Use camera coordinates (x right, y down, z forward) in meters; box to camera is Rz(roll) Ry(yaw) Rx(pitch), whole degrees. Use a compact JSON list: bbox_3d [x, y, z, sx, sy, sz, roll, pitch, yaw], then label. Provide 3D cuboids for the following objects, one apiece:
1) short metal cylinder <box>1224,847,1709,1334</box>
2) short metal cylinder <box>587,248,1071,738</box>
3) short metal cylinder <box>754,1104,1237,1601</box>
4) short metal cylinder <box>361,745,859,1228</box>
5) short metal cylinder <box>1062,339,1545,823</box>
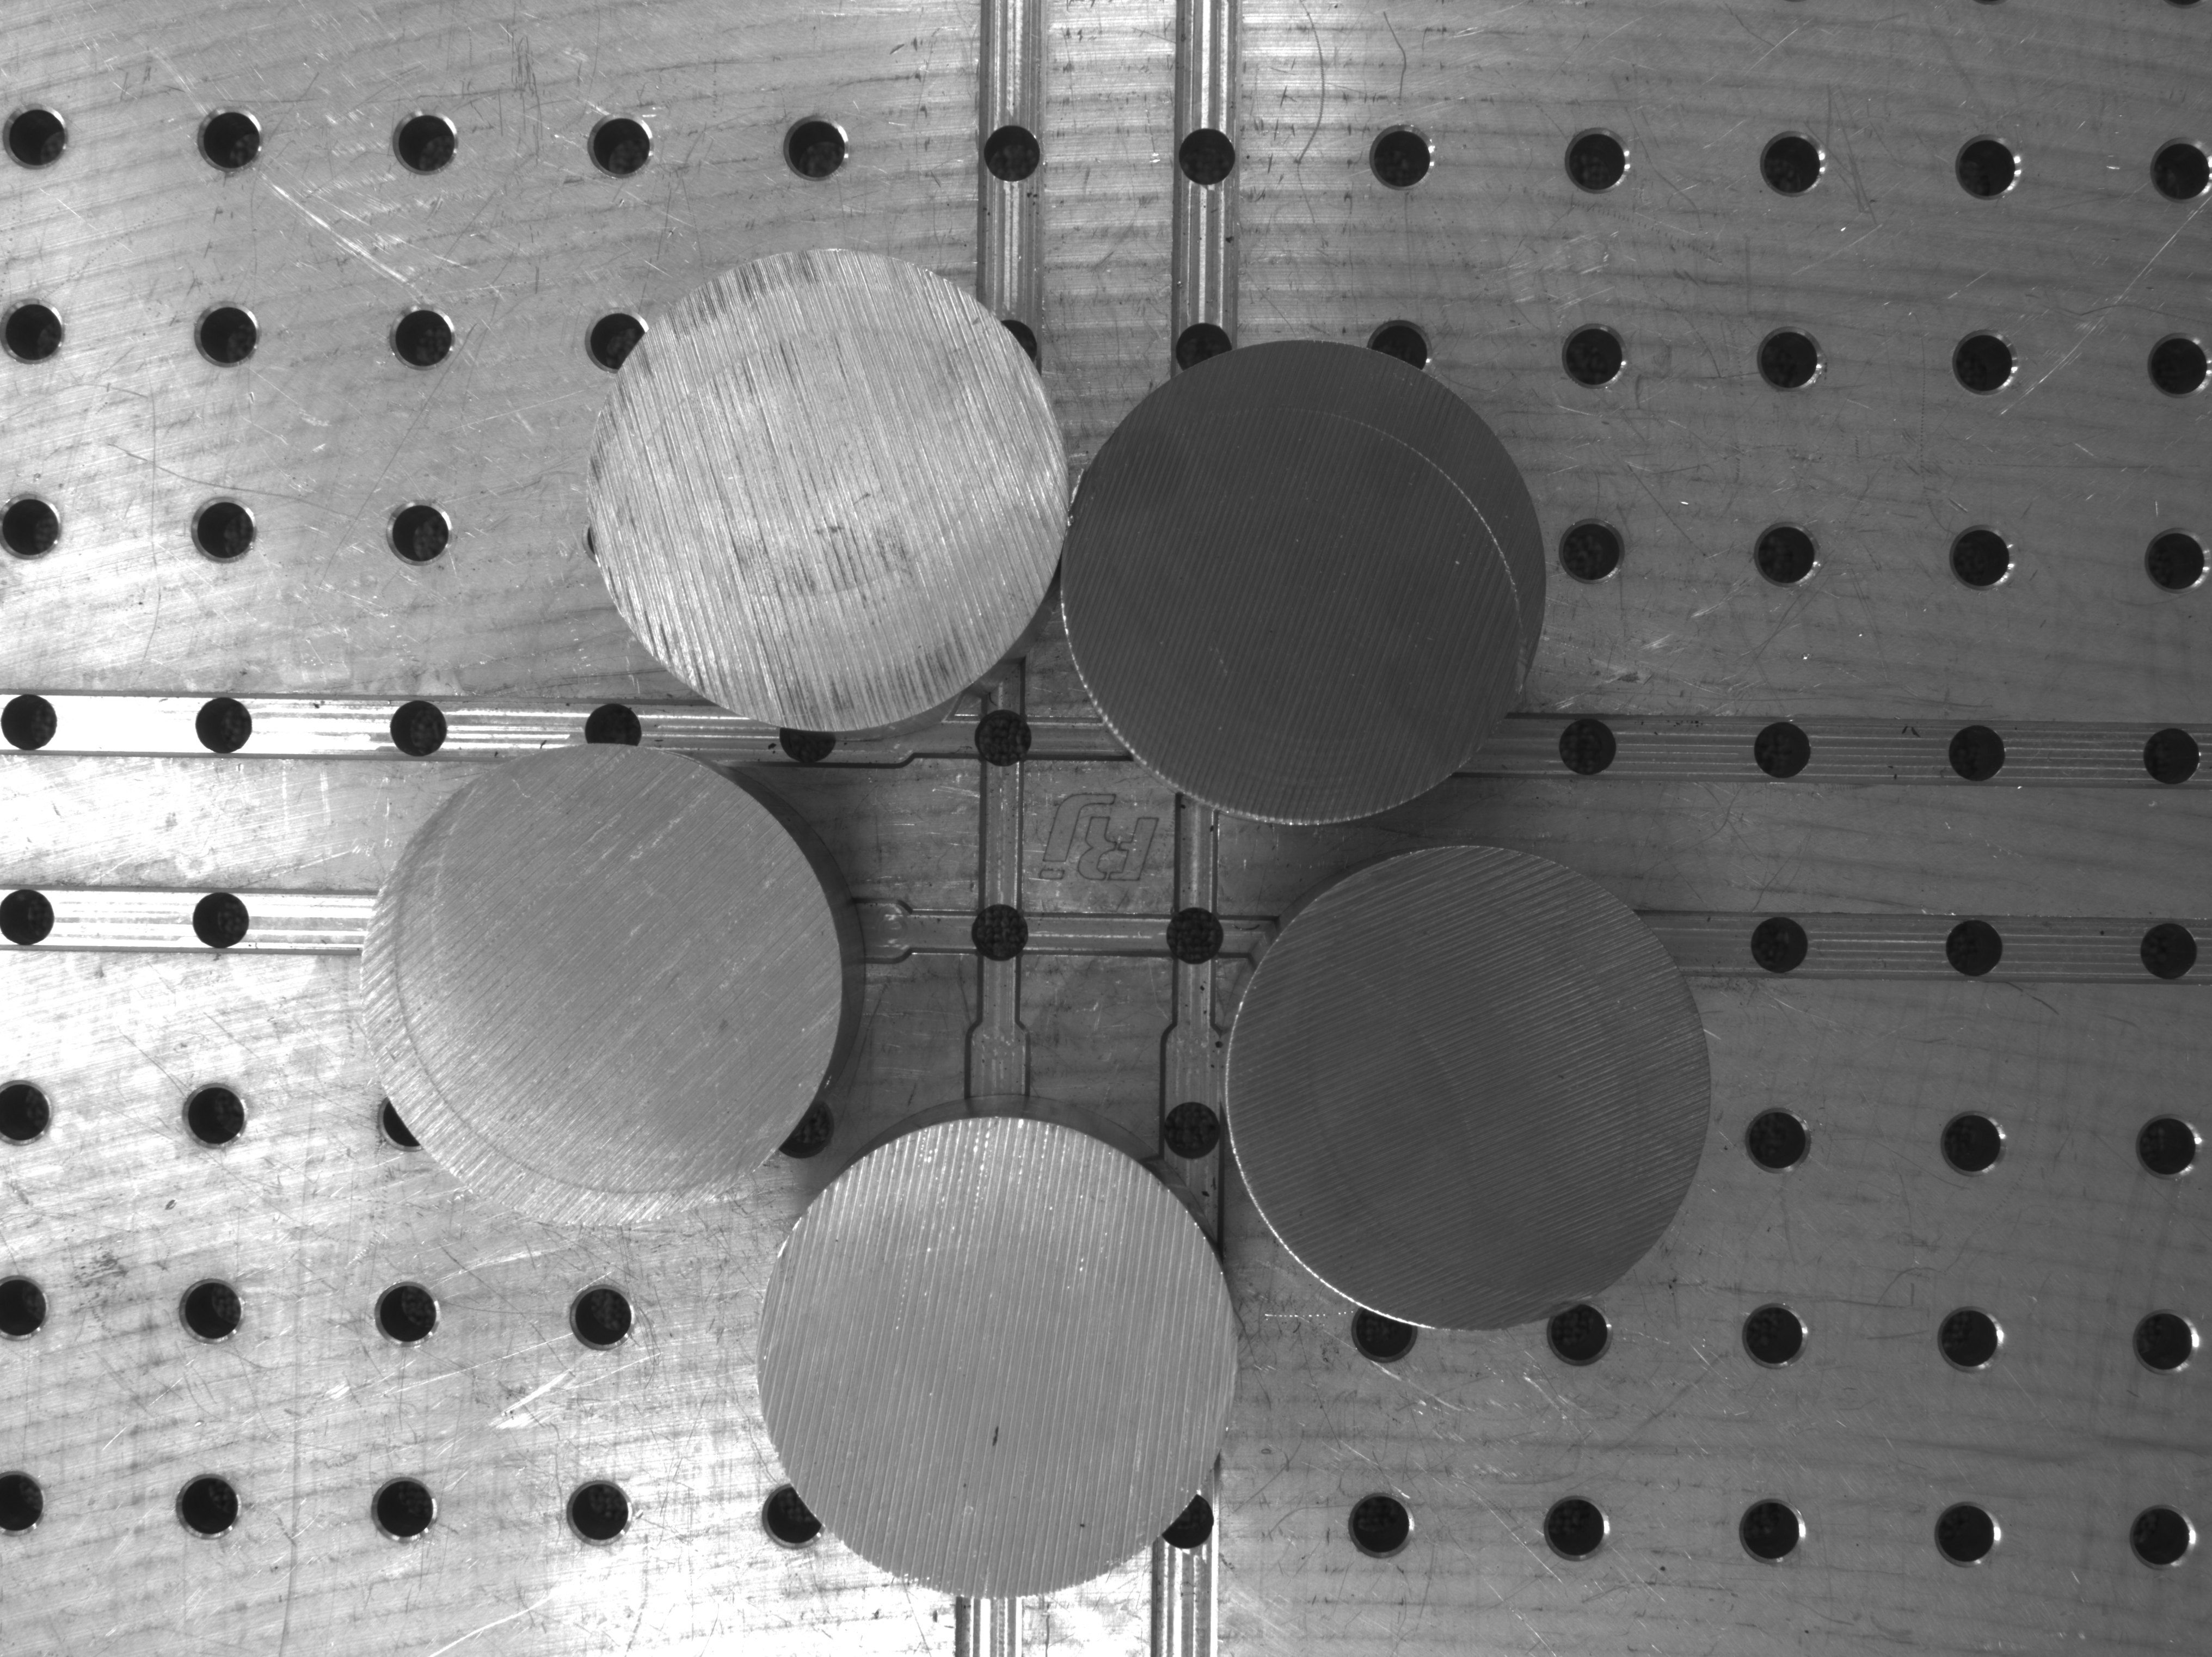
[{"bbox_3d":[0.060,0.043,0.635,0.080,0.050,0.080,0,91,0],"label":"short metal cylinder"},{"bbox_3d":[-0.046,-0.056,0.635,0.080,0.050,0.080,0,90,0],"label":"short metal cylinder"},{"bbox_3d":[-0.018,0.088,0.634,0.080,0.050,0.080,0,89,1],"label":"short metal cylinder"},{"bbox_3d":[-0.083,0.026,0.635,0.080,0.050,0.080,0,90,0],"label":"short metal cylinder"},{"bbox_3d":[0.033,-0.041,0.635,0.080,0.050,0.080,0,90,0],"label":"short metal cylinder"}]
